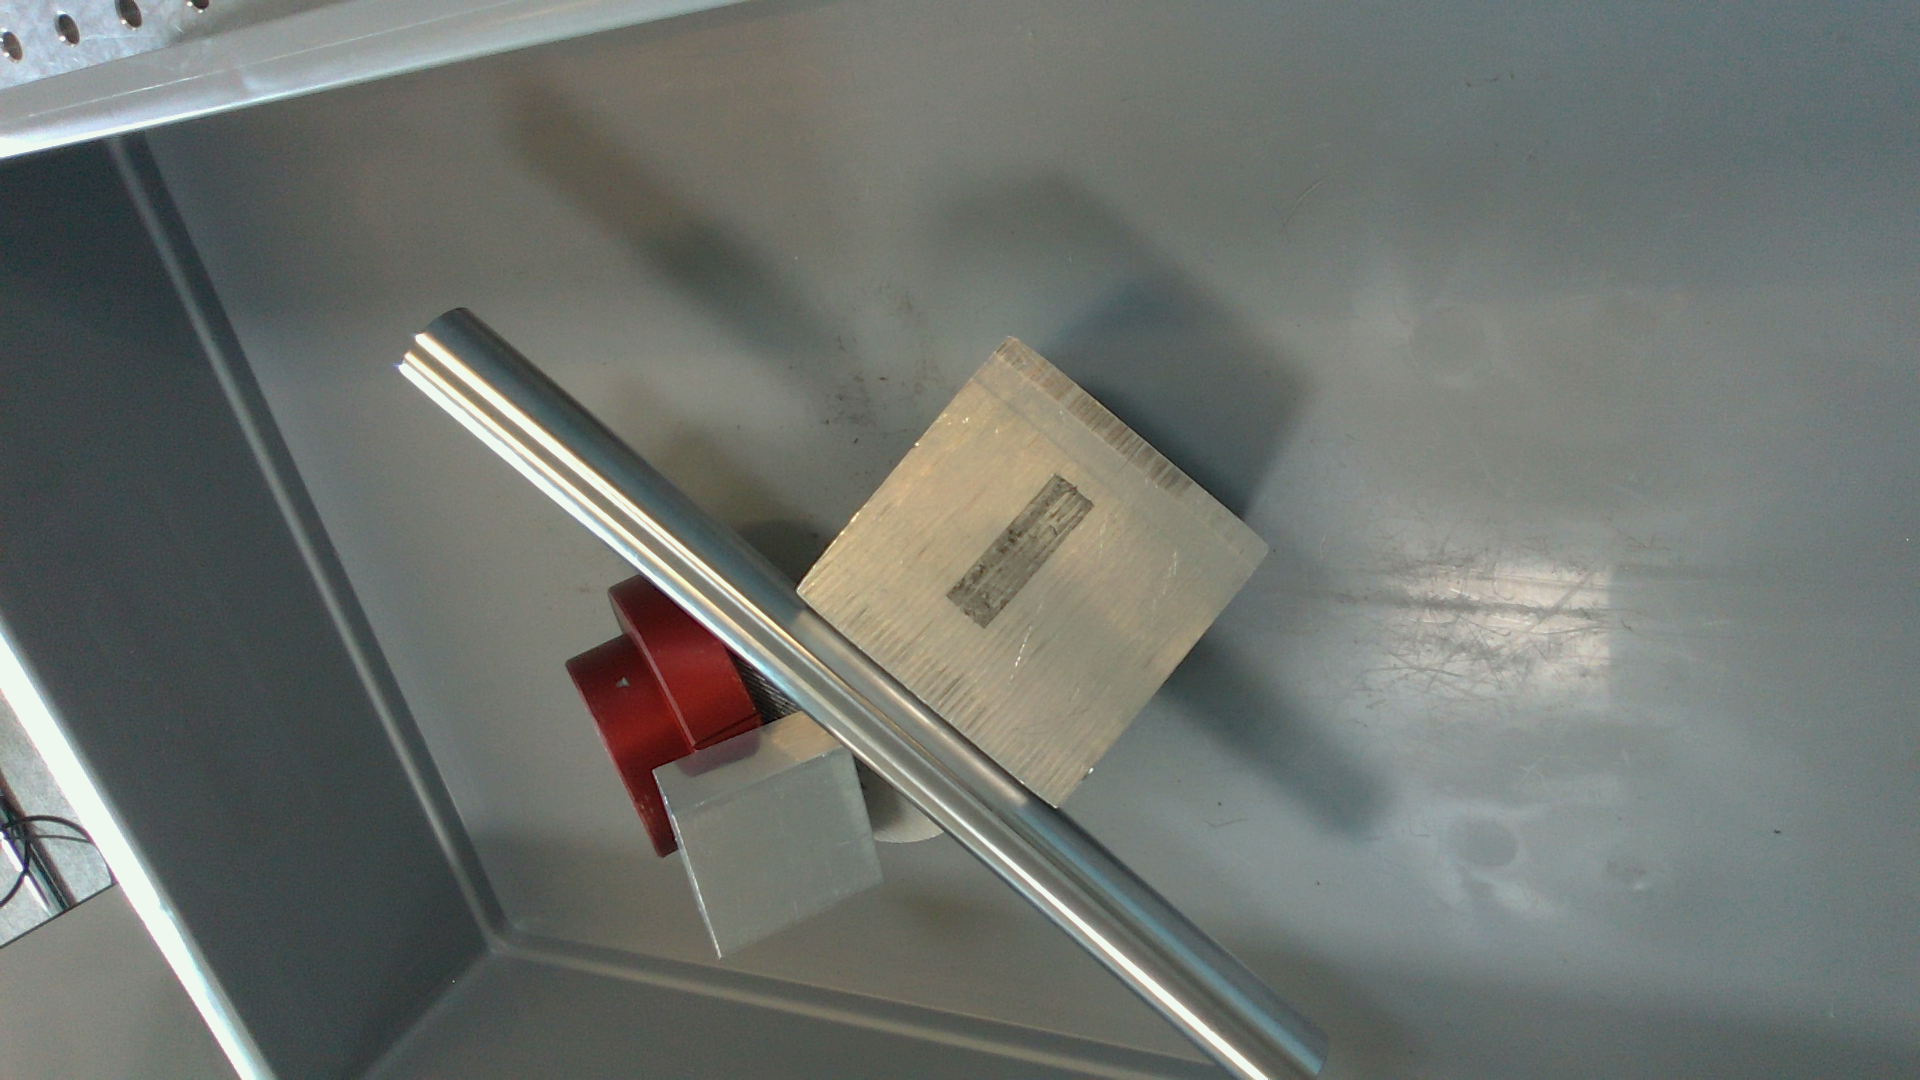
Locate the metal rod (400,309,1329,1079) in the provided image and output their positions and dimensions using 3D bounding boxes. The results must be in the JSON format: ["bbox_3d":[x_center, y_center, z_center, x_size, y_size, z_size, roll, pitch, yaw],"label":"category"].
[{"bbox_3d":[-0.026,0.044,0.367,0.300,0.025,0.025,40,129,1],"label":"metal rod"}]

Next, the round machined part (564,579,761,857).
[{"bbox_3d":[-0.090,0.059,0.432,0.098,0.042,0.098,54,161,29],"label":"round machined part"}]

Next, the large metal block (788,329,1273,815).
[{"bbox_3d":[0.016,0.008,0.344,0.080,0.050,0.080,39,86,1],"label":"large metal block"}]

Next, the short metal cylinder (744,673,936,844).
[{"bbox_3d":[-0.021,0.043,0.413,0.080,0.050,0.080,13,124,21],"label":"short metal cylinder"}]

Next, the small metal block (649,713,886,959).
[{"bbox_3d":[-0.053,0.081,0.386,0.025,0.050,0.050,40,146,58],"label":"small metal block"}]
